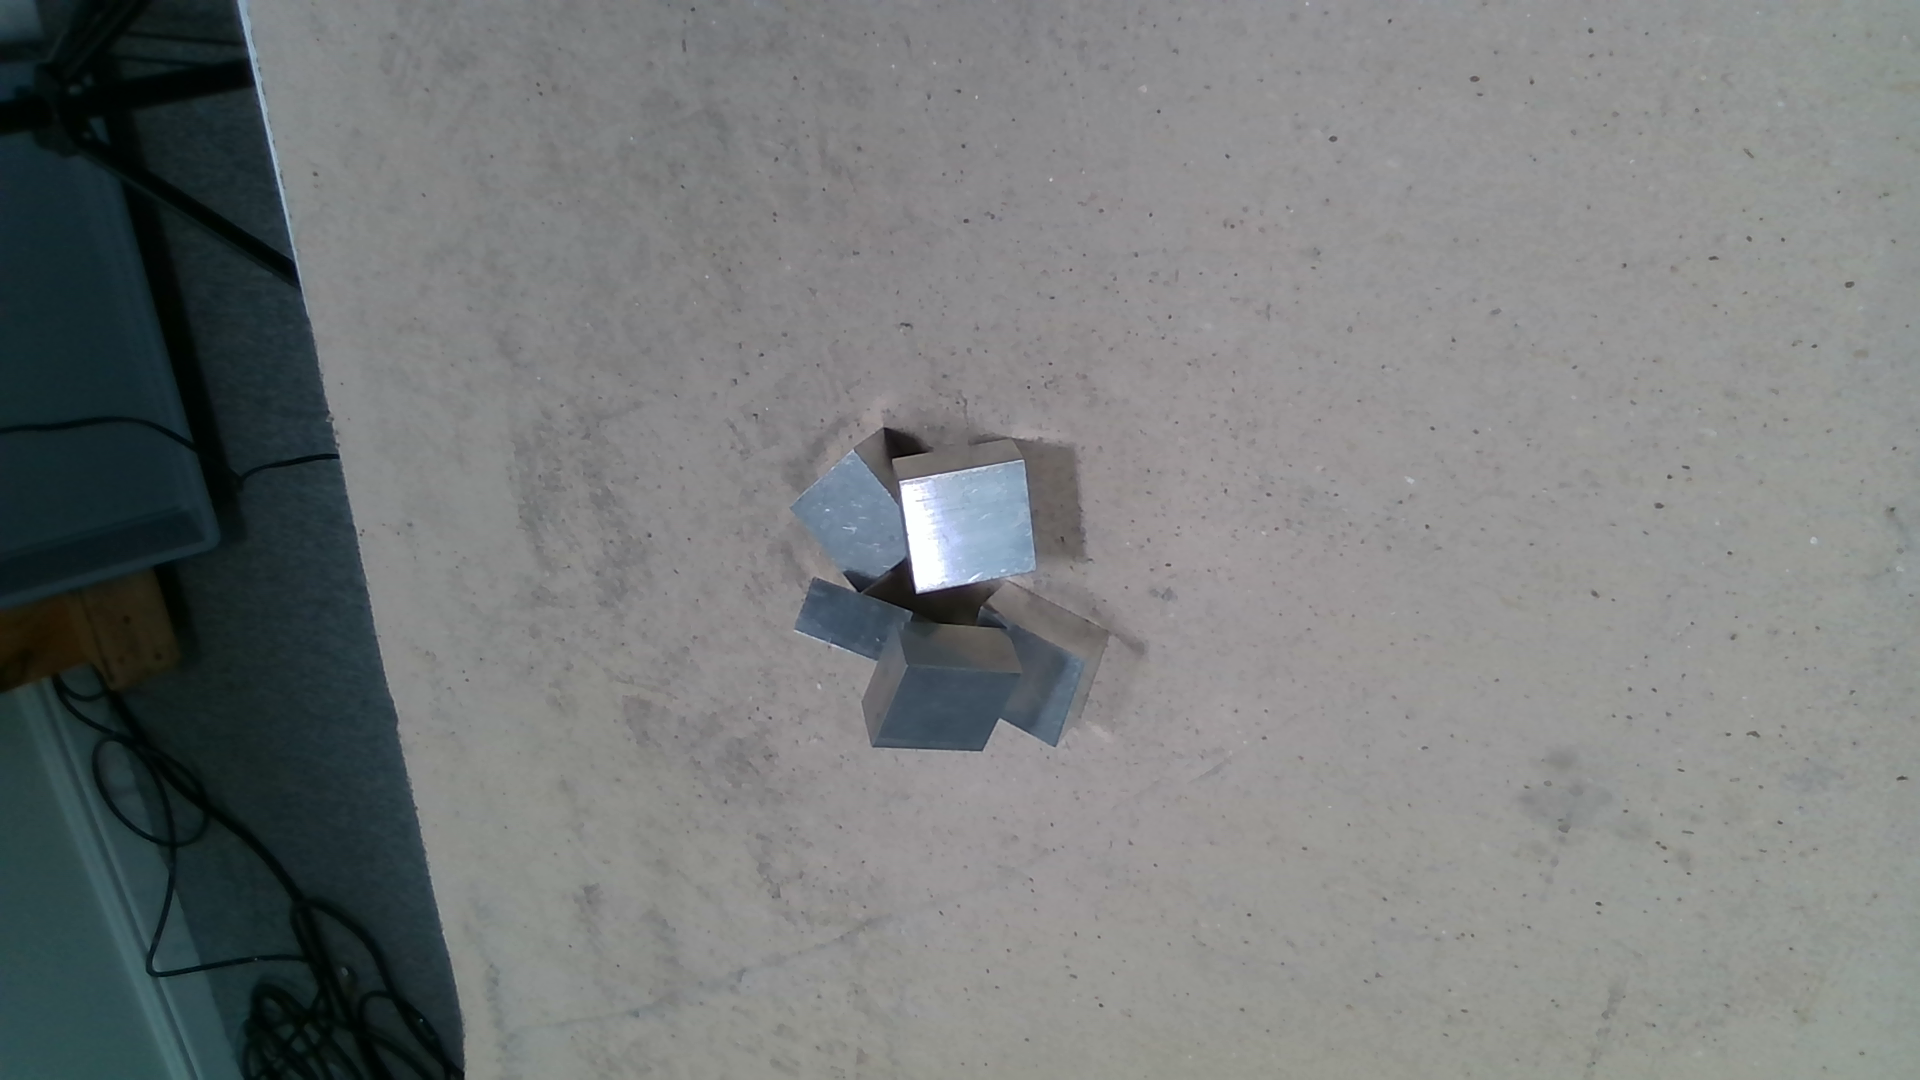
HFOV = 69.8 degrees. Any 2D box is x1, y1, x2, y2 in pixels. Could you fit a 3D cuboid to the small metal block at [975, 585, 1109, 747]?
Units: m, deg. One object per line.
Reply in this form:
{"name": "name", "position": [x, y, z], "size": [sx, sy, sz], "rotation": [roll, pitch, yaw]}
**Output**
{"name": "small metal block", "position": [0.030, 0.053, 0.591], "size": [0.050, 0.025, 0.050], "rotation": [26, 126, 17]}

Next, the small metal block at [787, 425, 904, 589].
{"name": "small metal block", "position": [-0.039, -0.013, 0.597], "size": [0.050, 0.025, 0.050], "rotation": [51, 129, -2]}

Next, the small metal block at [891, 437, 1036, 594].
{"name": "small metal block", "position": [0.001, -0.010, 0.557], "size": [0.050, 0.025, 0.050], "rotation": [-10, 115, -5]}

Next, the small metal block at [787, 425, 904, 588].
{"name": "small metal block", "position": [-0.039, -0.013, 0.597], "size": [0.050, 0.025, 0.050], "rotation": [51, 129, -3]}

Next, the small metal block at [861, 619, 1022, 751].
{"name": "small metal block", "position": [-0.009, 0.061, 0.569], "size": [0.050, 0.025, 0.050], "rotation": [6, 130, -22]}

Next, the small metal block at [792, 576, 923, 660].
{"name": "small metal block", "position": [-0.038, 0.040, 0.606], "size": [0.050, 0.050, 0.025], "rotation": [18, 85, 22]}
